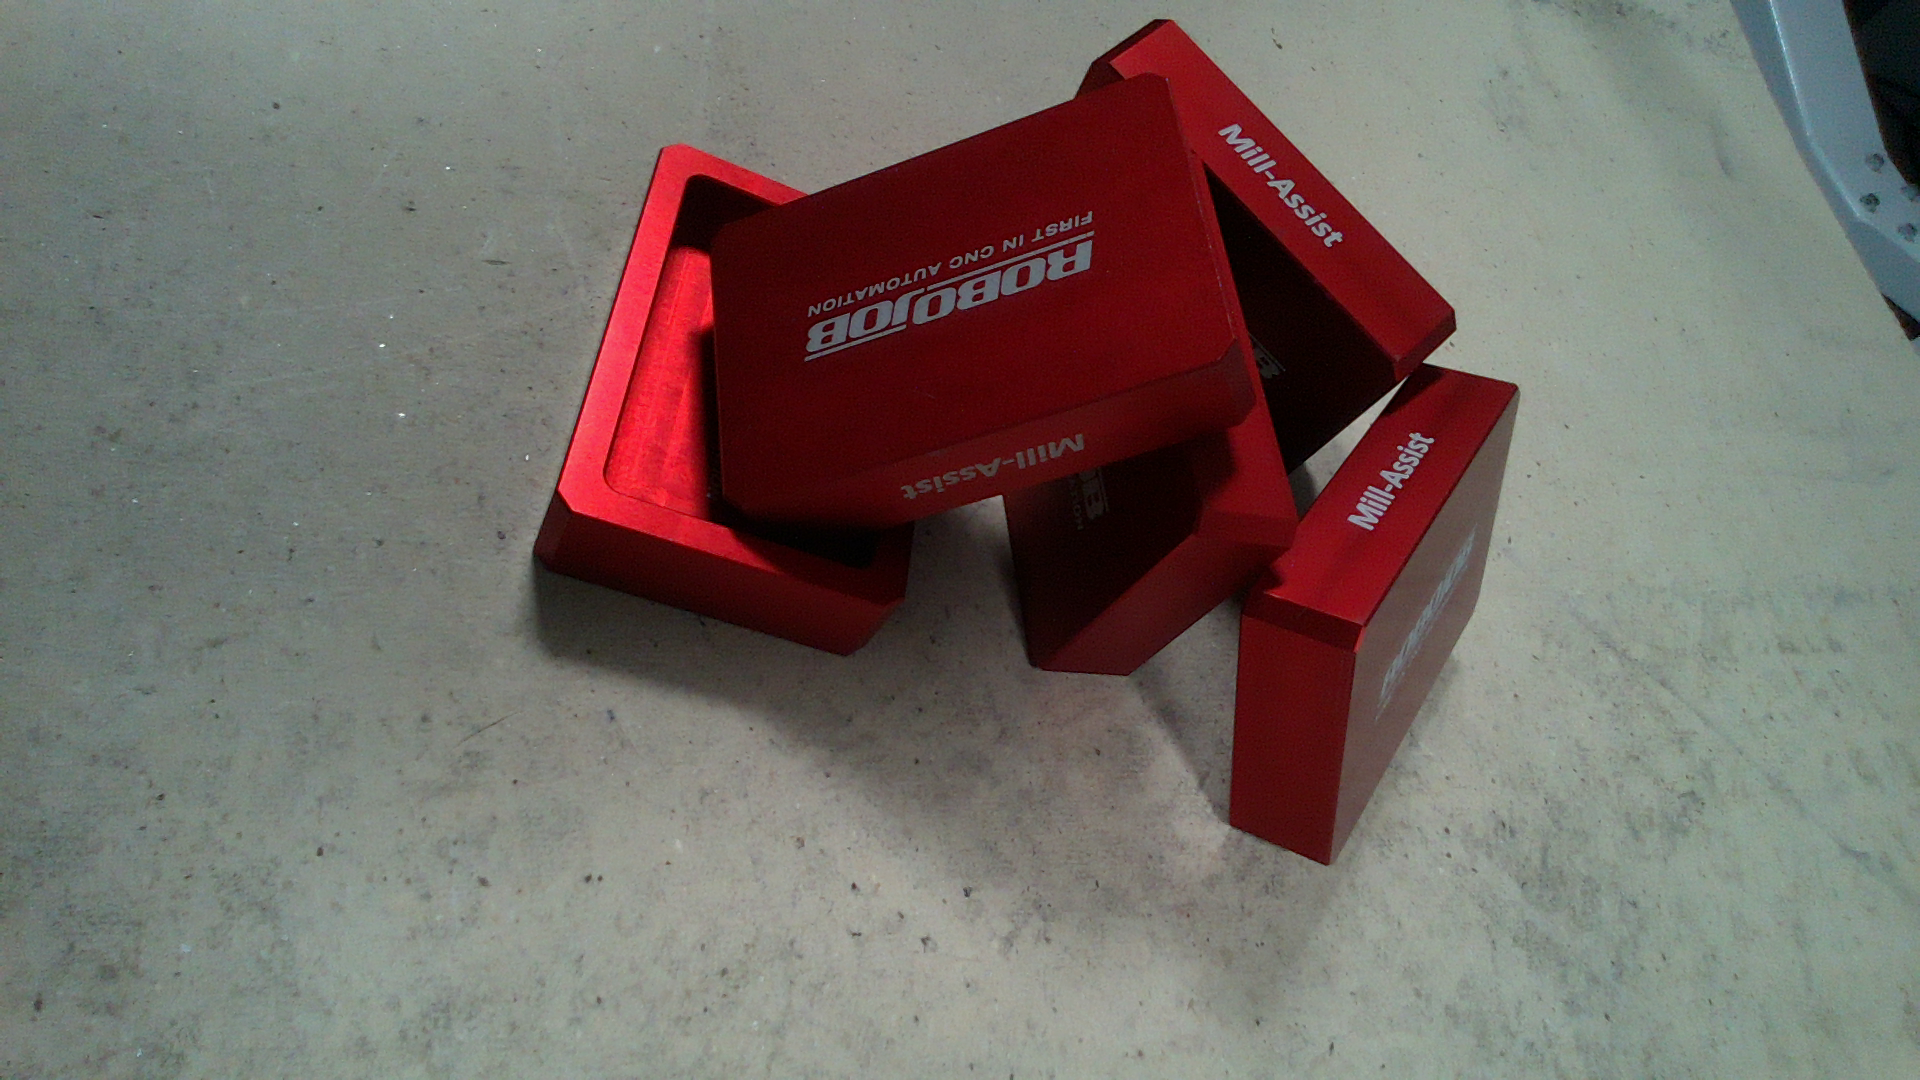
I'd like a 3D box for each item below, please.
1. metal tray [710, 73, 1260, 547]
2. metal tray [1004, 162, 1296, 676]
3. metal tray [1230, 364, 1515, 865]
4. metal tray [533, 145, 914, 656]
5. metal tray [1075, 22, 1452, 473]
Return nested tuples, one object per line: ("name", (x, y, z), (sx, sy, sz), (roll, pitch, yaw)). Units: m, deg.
("metal tray", (0.002, -0.057, 0.353), (0.130, 0.030, 0.090), (-16, 61, 14))
("metal tray", (0.044, -0.037, 0.395), (0.030, 0.090, 0.130), (6, 59, -25))
("metal tray", (0.122, 0.018, 0.402), (0.030, 0.090, 0.130), (19, 45, 29))
("metal tray", (-0.055, -0.041, 0.382), (0.090, 0.030, 0.130), (18, 54, -18))
("metal tray", (0.082, -0.088, 0.443), (0.030, 0.090, 0.130), (-40, 84, -24))
